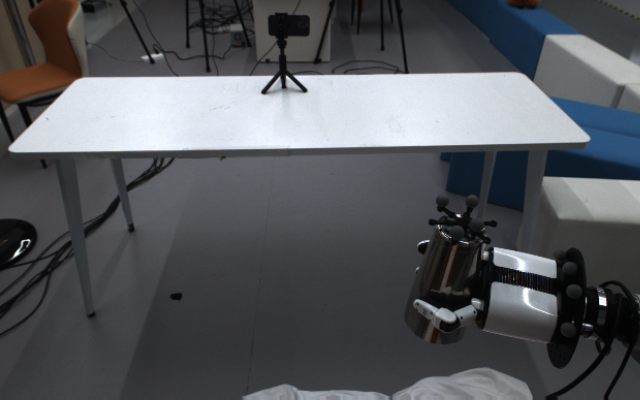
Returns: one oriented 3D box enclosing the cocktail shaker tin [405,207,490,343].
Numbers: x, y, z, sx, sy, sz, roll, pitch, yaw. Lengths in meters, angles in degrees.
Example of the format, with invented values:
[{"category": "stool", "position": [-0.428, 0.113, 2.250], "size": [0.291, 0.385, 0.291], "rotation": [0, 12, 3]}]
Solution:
[{"category": "cocktail shaker tin", "position": [0.178, 0.104, 0.667], "size": [0.093, 0.170, 0.093], "rotation": [3, 34, -2]}]
